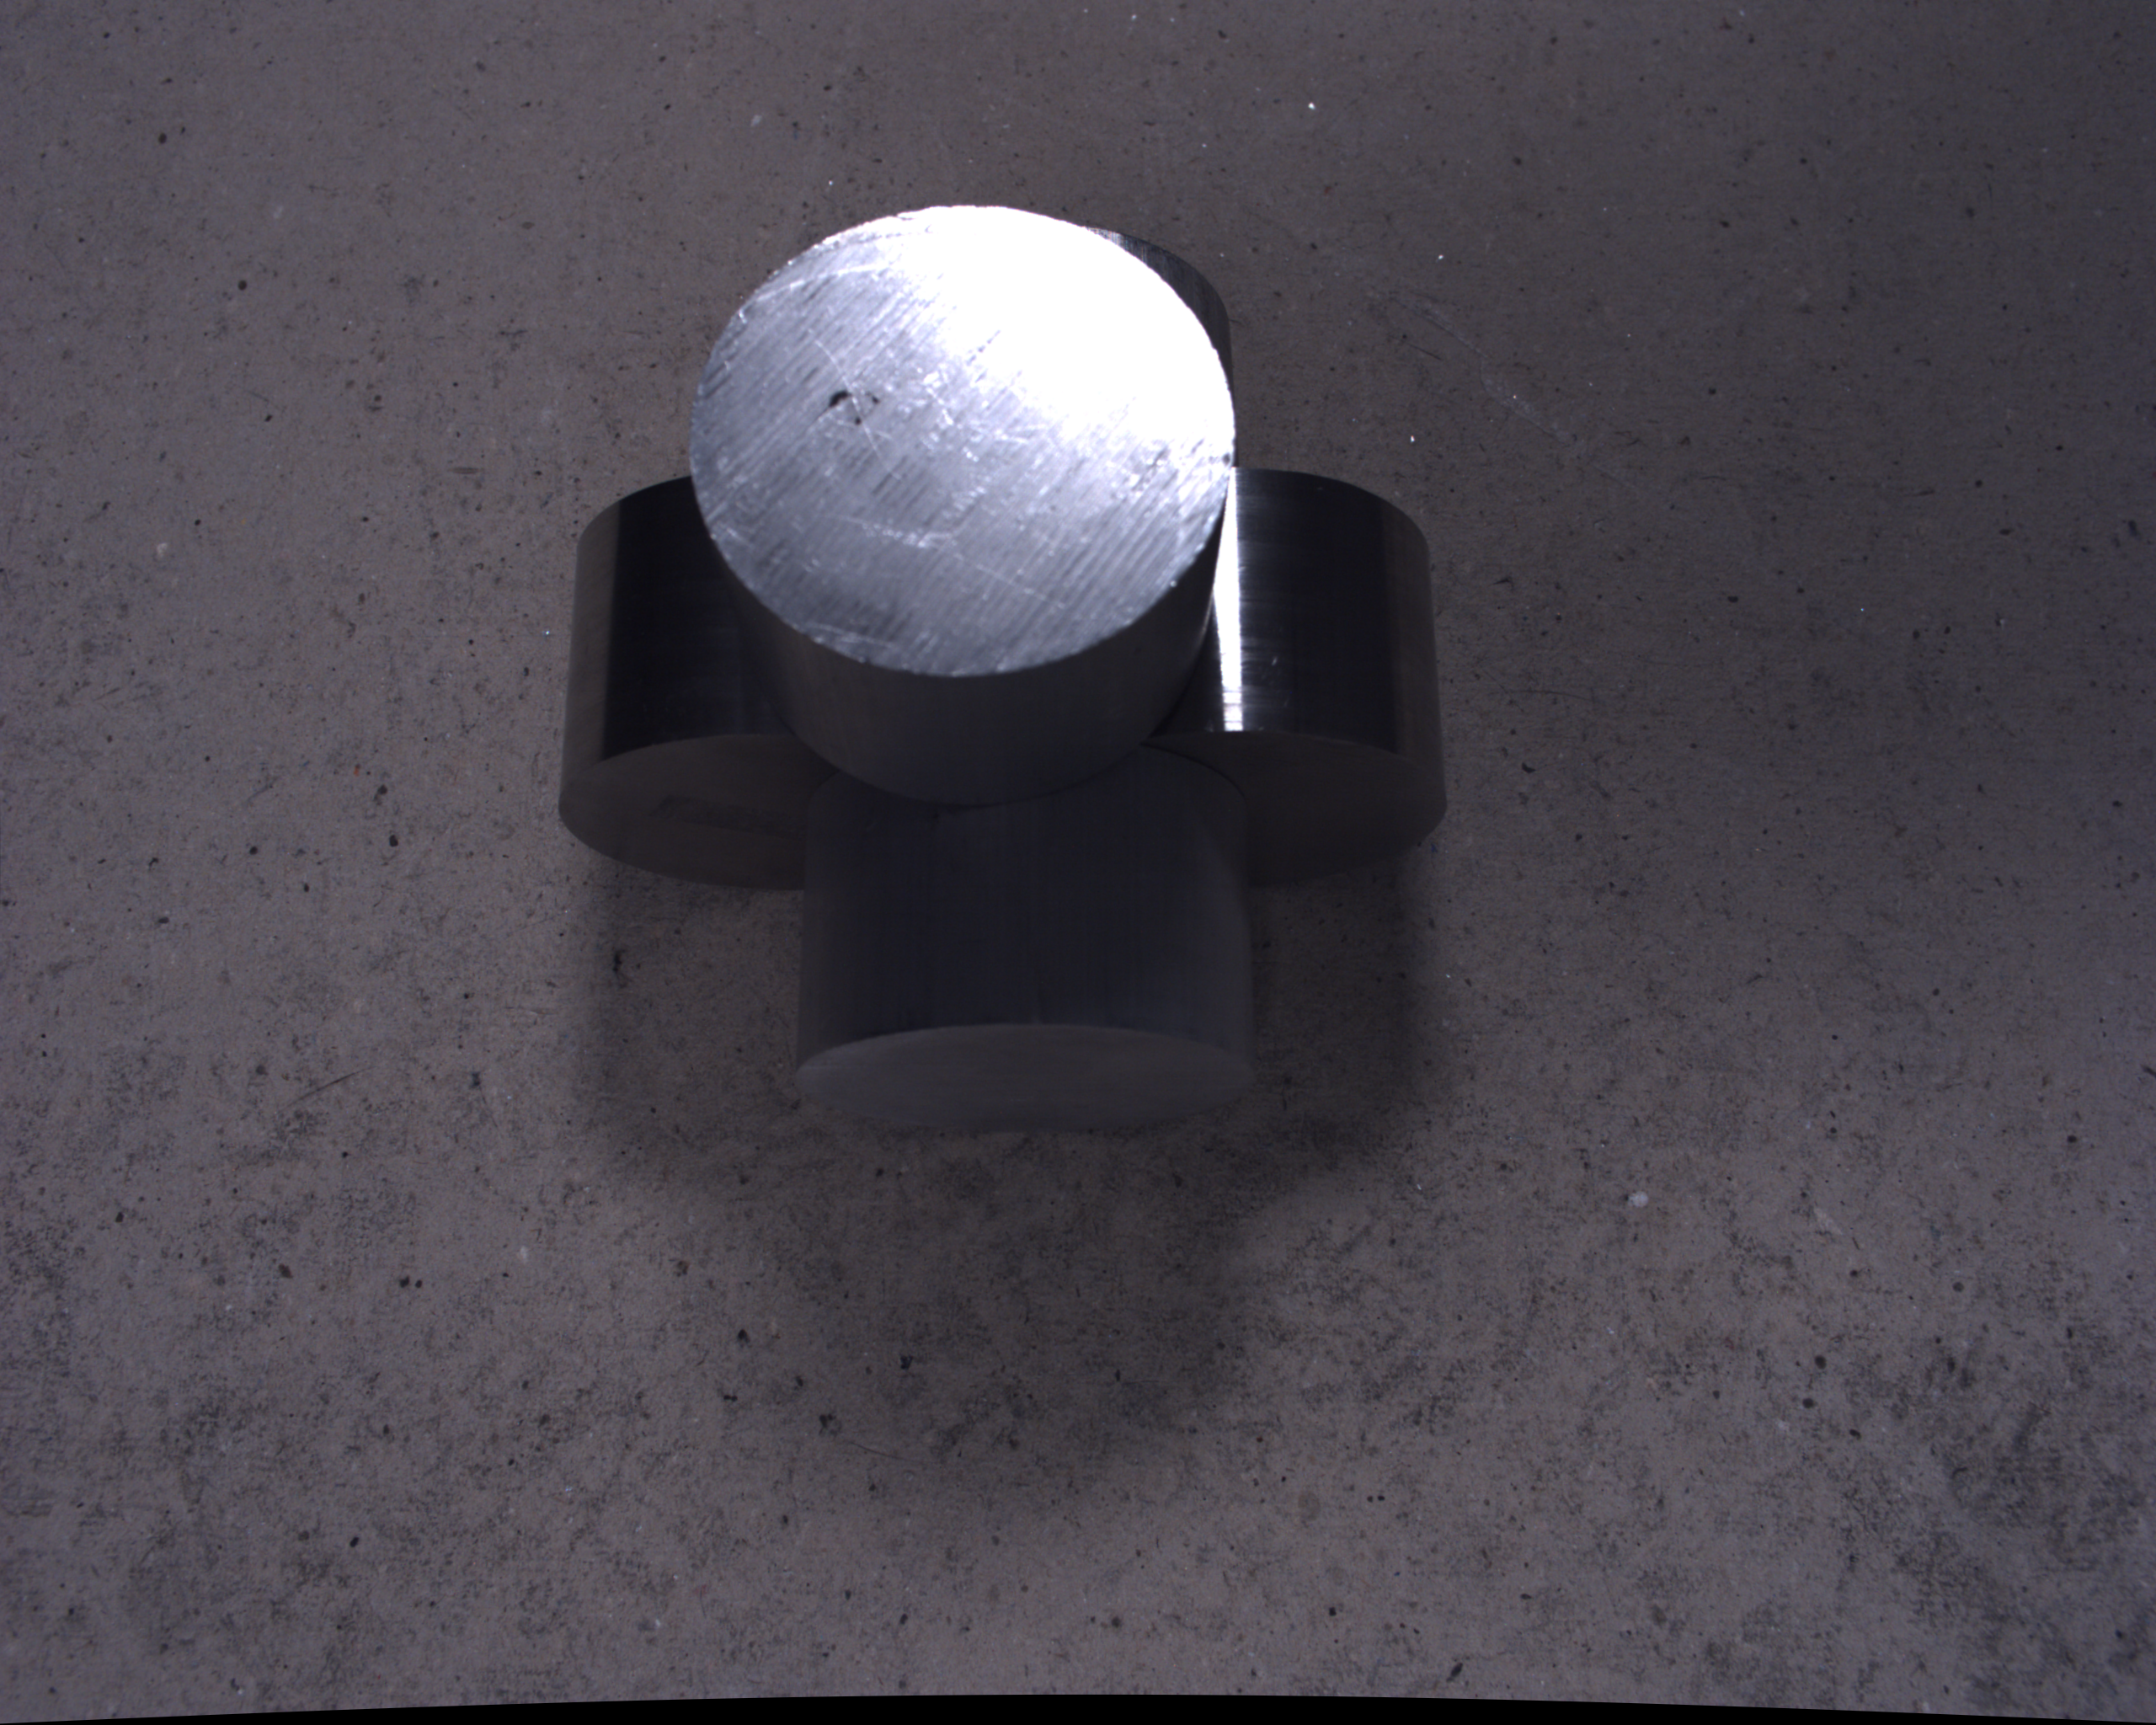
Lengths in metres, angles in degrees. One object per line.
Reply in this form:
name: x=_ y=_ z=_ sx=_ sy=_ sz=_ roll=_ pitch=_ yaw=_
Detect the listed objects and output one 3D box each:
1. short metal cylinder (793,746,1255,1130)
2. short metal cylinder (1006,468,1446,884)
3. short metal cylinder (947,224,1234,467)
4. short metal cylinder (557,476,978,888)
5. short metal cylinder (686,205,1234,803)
short metal cylinder: x=-0.009 y=0.015 z=0.374 sx=0.081 sy=0.080 sz=0.050 roll=0 pitch=70 yaw=-1
short metal cylinder: x=0.027 y=-0.032 z=0.392 sx=0.081 sy=0.080 sz=0.050 roll=0 pitch=70 yaw=-1
short metal cylinder: x=-0.009 y=-0.080 z=0.409 sx=0.081 sy=0.080 sz=0.050 roll=-2 pitch=70 yaw=-1
short metal cylinder: x=-0.055 y=-0.031 z=0.391 sx=0.081 sy=0.080 sz=0.050 roll=-1 pitch=70 yaw=-1
short metal cylinder: x=-0.017 y=-0.055 z=0.331 sx=0.081 sy=0.050 sz=0.080 roll=0 pitch=70 yaw=0
